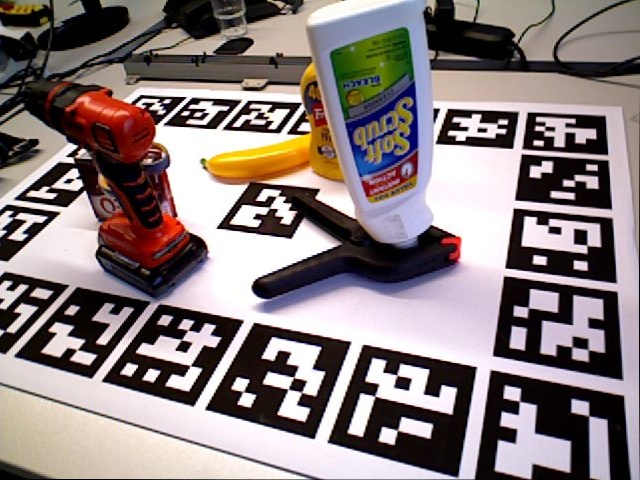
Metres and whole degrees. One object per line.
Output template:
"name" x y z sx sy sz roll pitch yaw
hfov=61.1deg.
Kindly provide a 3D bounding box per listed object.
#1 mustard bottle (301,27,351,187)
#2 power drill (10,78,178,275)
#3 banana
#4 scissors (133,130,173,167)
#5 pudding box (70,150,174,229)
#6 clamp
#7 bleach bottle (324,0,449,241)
"mustard bottle" 0.024 -0.159 0.653 0.096 0.195 0.057 20 47 28
"power drill" -0.222 -0.066 0.544 0.185 0.191 0.056 16 39 30
"banana" -0.066 -0.131 0.741 0.195 0.039 0.074 -19 24 -10
"scissors" -0.255 -0.122 0.636 0.203 0.016 0.086 31 59 32
"pudding box" -0.242 -0.067 0.670 0.114 0.092 0.038 11 38 21
"clamp" 0.049 -0.007 0.561 0.203 0.037 0.162 4 44 13
"bleach bottle" 0.076 -0.093 0.491 0.103 0.255 0.066 -10 36 9
